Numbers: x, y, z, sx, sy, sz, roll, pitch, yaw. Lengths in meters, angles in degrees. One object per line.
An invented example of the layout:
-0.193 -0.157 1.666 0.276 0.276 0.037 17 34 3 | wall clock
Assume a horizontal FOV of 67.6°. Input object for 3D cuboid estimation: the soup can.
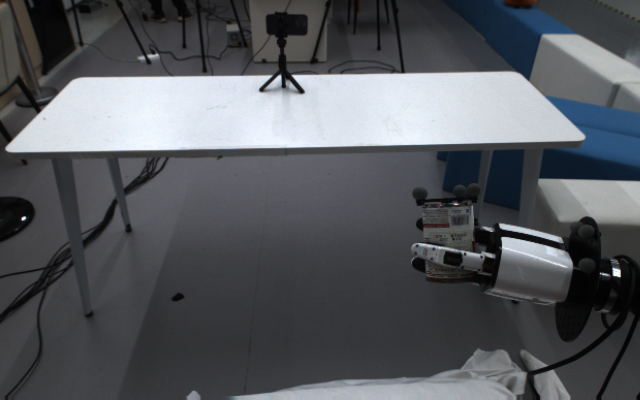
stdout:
0.173 0.055 0.642 0.067 0.101 0.067 -3 -1 0 | soup can
